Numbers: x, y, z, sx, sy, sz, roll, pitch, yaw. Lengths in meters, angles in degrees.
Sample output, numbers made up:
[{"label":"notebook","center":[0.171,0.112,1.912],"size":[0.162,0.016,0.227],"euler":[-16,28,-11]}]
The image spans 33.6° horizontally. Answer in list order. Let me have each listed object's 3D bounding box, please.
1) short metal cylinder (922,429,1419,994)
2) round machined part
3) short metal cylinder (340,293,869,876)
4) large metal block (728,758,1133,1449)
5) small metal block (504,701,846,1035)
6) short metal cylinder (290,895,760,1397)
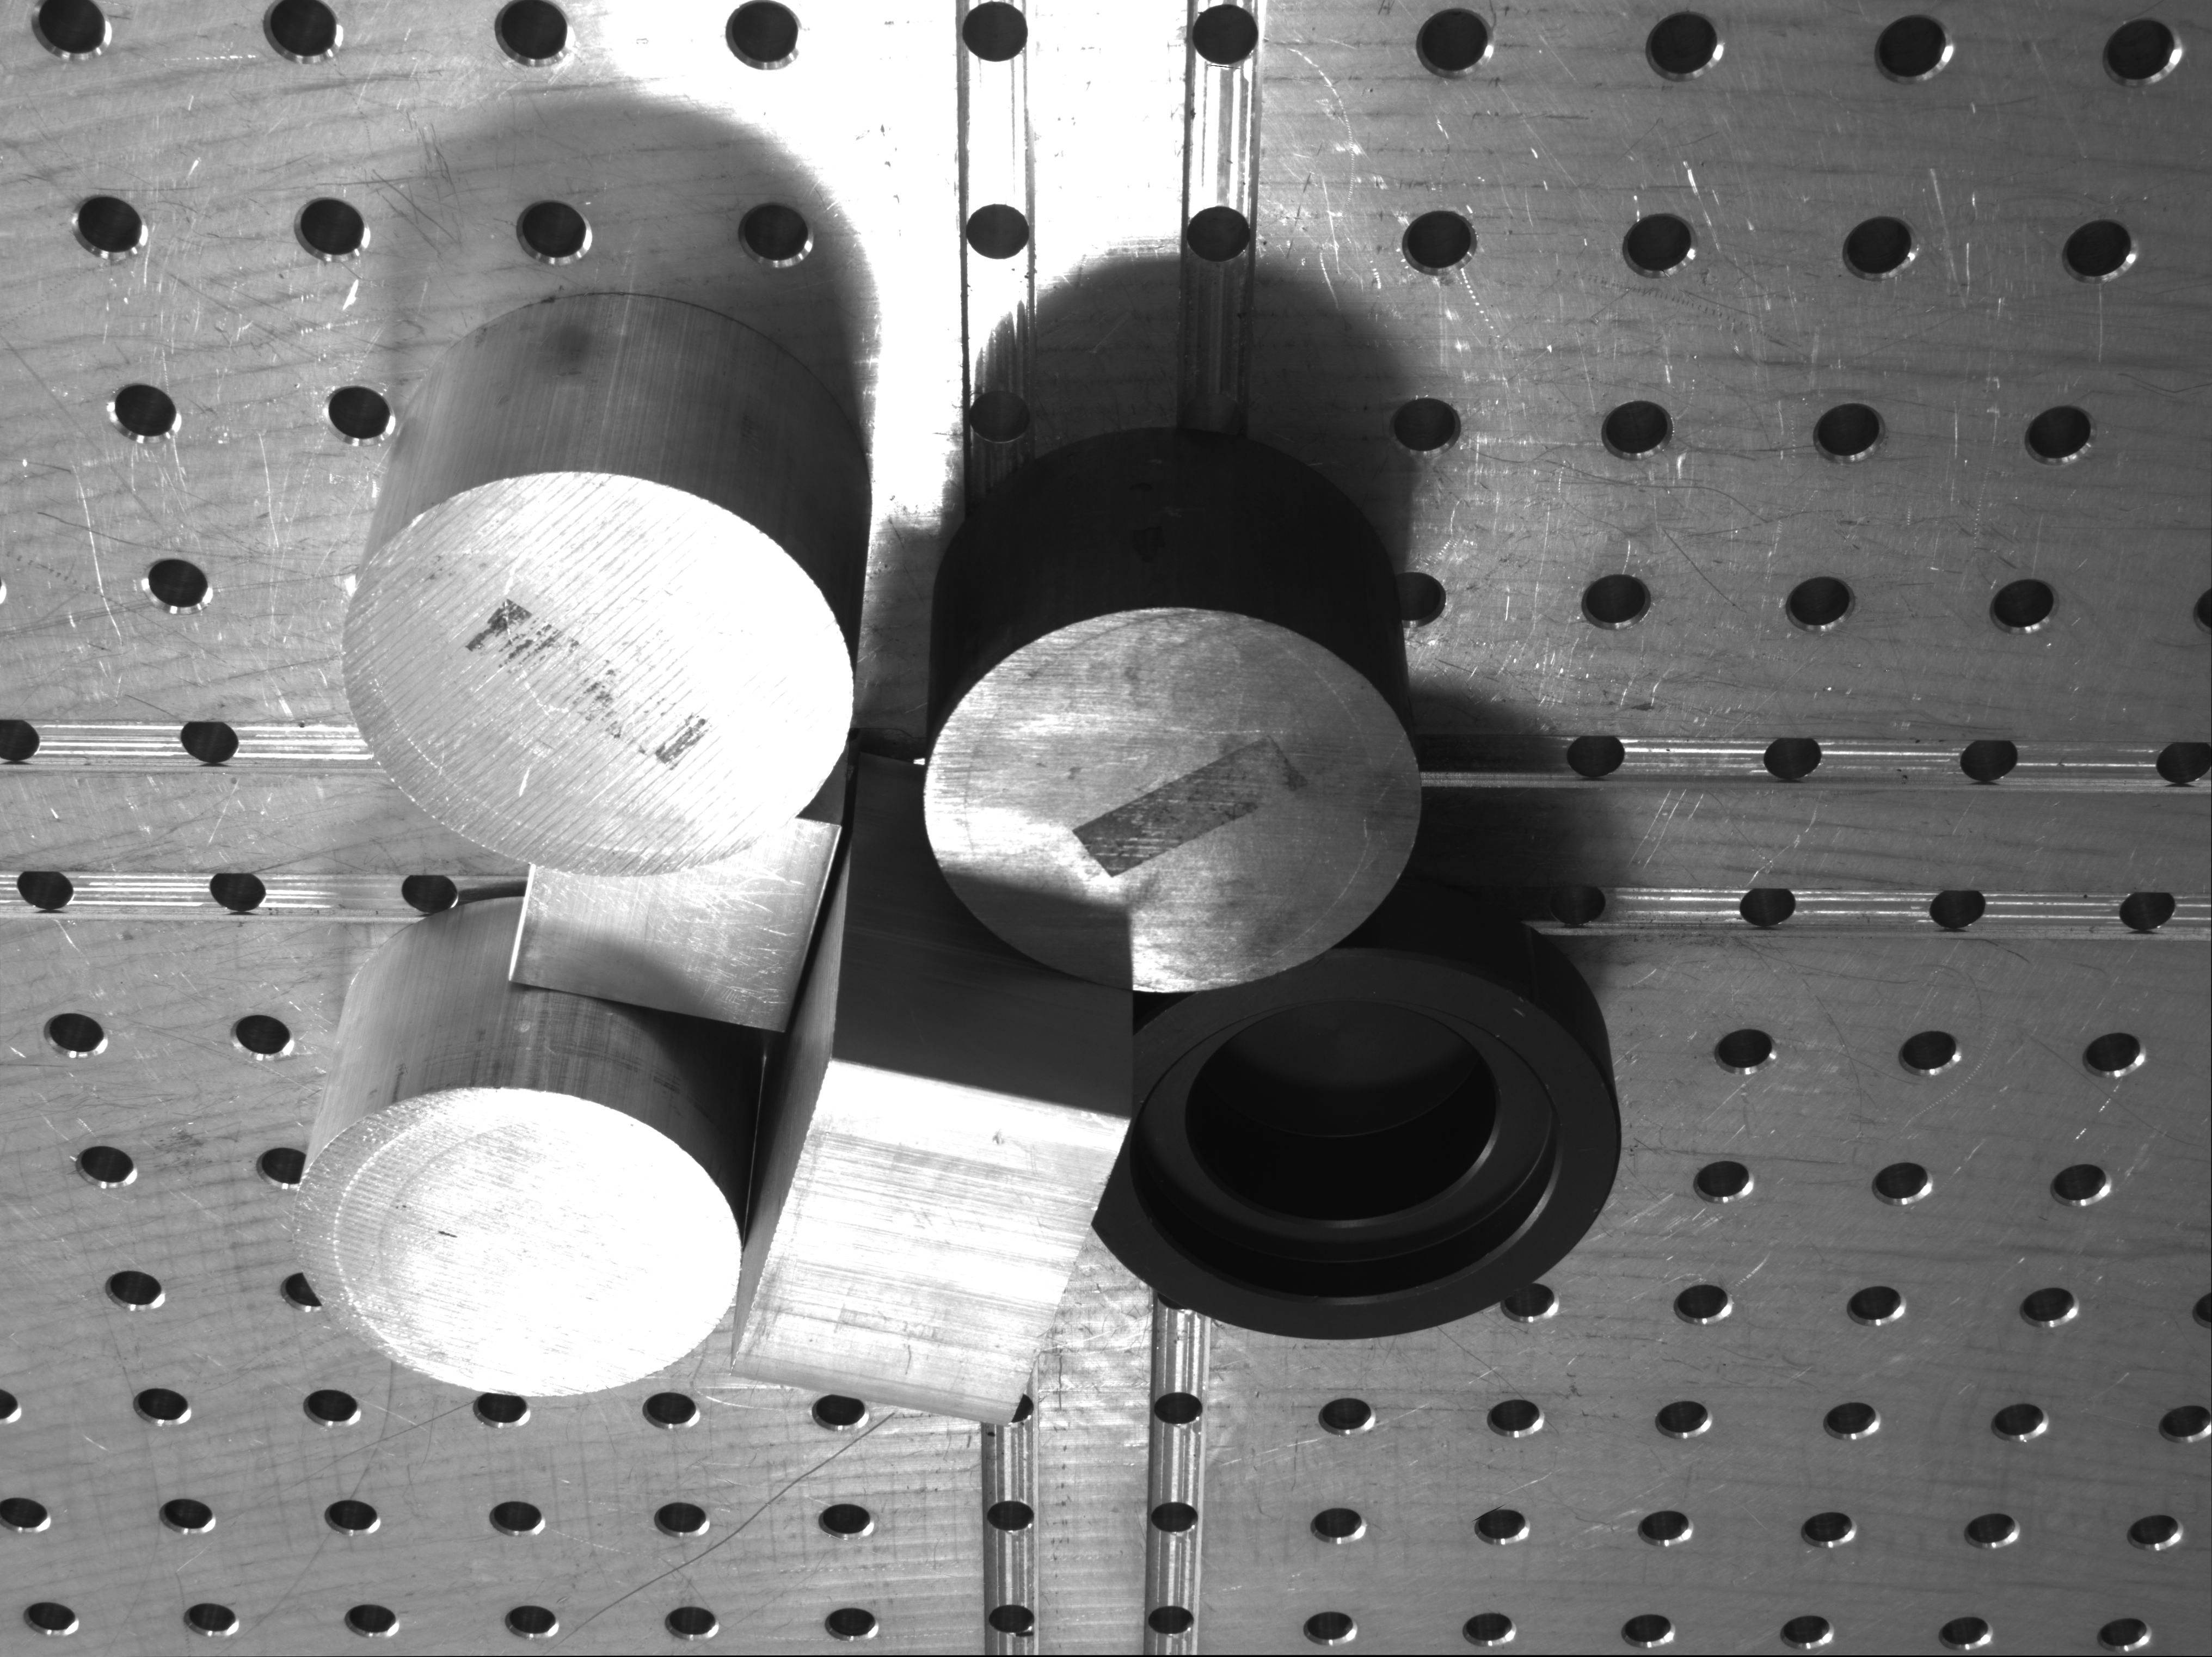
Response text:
[{"label":"short metal cylinder","center":[0.010,-0.019,0.610],"size":[0.080,0.050,0.080],"euler":[0,130,0]},{"label":"round machined part","center":[0.043,0.045,0.669],"size":[0.098,0.042,0.098],"euler":[0,130,0]},{"label":"short metal cylinder","center":[-0.079,-0.039,0.593],"size":[0.080,0.050,0.080],"euler":[0,130,0]},{"label":"large metal block","center":[-0.030,0.048,0.642],"size":[0.050,0.080,0.080],"euler":[12,129,-10]},{"label":"small metal block","center":[-0.076,0.006,0.646],"size":[0.050,0.025,0.050],"euler":[11,129,-9]},{"label":"short metal cylinder","center":[-0.105,0.059,0.674],"size":[0.080,0.050,0.080],"euler":[0,130,0]}]
